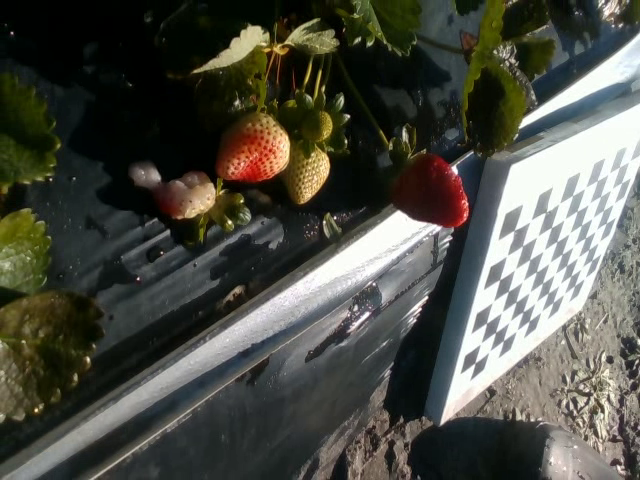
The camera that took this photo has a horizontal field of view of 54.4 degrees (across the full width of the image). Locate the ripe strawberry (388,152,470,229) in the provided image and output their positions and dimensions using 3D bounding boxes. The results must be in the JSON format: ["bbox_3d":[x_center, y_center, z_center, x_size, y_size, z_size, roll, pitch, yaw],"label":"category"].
[{"bbox_3d":[0.055,-0.020,0.304,0.036,0.038,0.046,-23,57,-33],"label":"ripe strawberry"}]
